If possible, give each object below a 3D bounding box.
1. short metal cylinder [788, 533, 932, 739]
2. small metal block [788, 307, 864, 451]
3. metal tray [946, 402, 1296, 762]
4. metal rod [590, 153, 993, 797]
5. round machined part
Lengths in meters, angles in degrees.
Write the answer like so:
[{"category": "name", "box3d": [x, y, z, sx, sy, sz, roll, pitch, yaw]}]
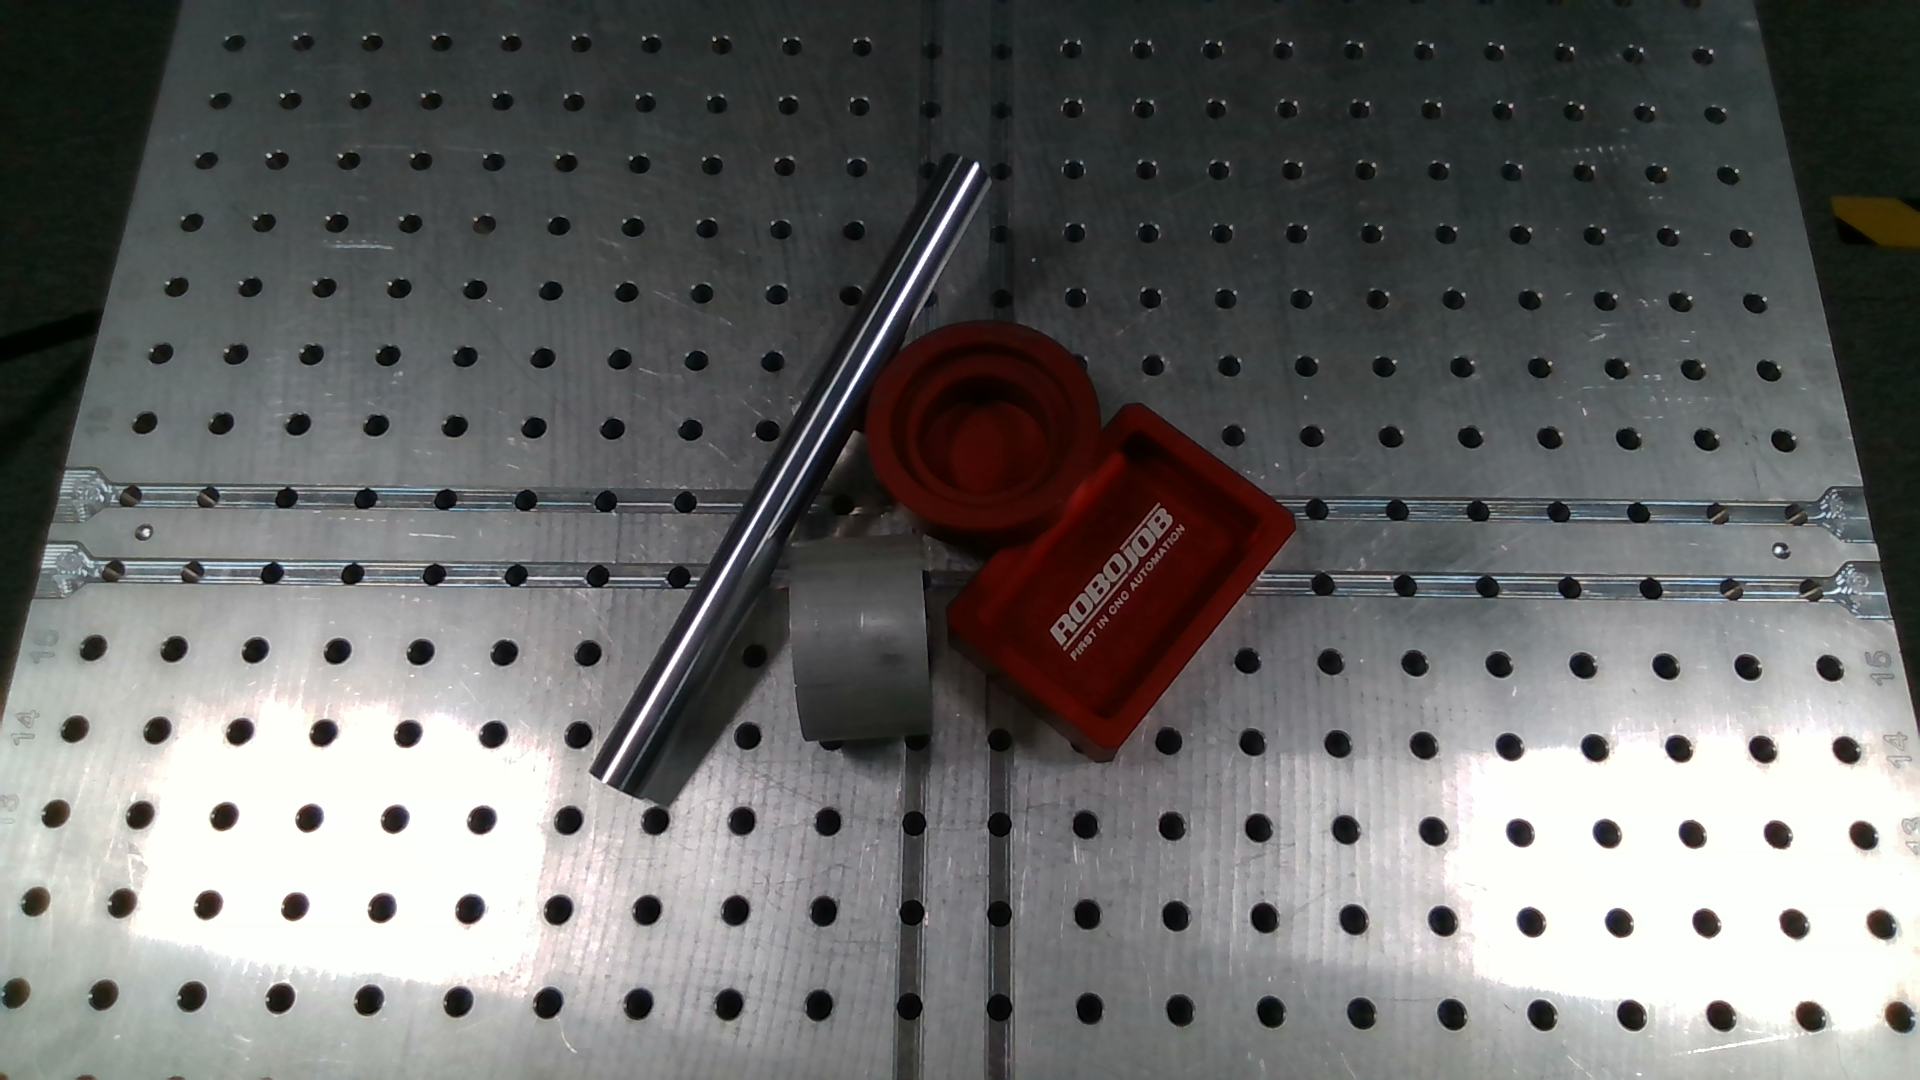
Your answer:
[{"category": "short metal cylinder", "box3d": [-0.038, 0.038, 0.546, 0.050, 0.080, 0.080, -4, 70, -1]}, {"category": "small metal block", "box3d": [-0.041, -0.068, 0.615, 0.050, 0.025, 0.050, 27, 72, 9]}, {"category": "metal tray", "box3d": [0.067, 0.016, 0.581, 0.090, 0.030, 0.130, 38, 74, 12]}, {"category": "metal rod", "box3d": [-0.068, -0.032, 0.580, 0.025, 0.025, 0.300, 27, 81, 9]}, {"category": "round machined part", "box3d": [0.010, -0.042, 0.588, 0.098, 0.042, 0.098, 0, 68, 0]}]
